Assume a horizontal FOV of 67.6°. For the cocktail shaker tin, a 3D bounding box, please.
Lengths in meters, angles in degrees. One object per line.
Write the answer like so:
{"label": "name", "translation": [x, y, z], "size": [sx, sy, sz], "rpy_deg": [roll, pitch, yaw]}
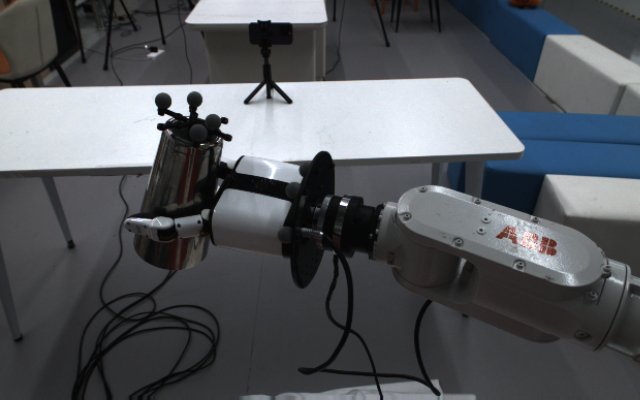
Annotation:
{"label": "cocktail shaker tin", "translation": [-0.164, -0.011, 0.577], "size": [0.093, 0.170, 0.093], "rpy_deg": [16, 31, -10]}
